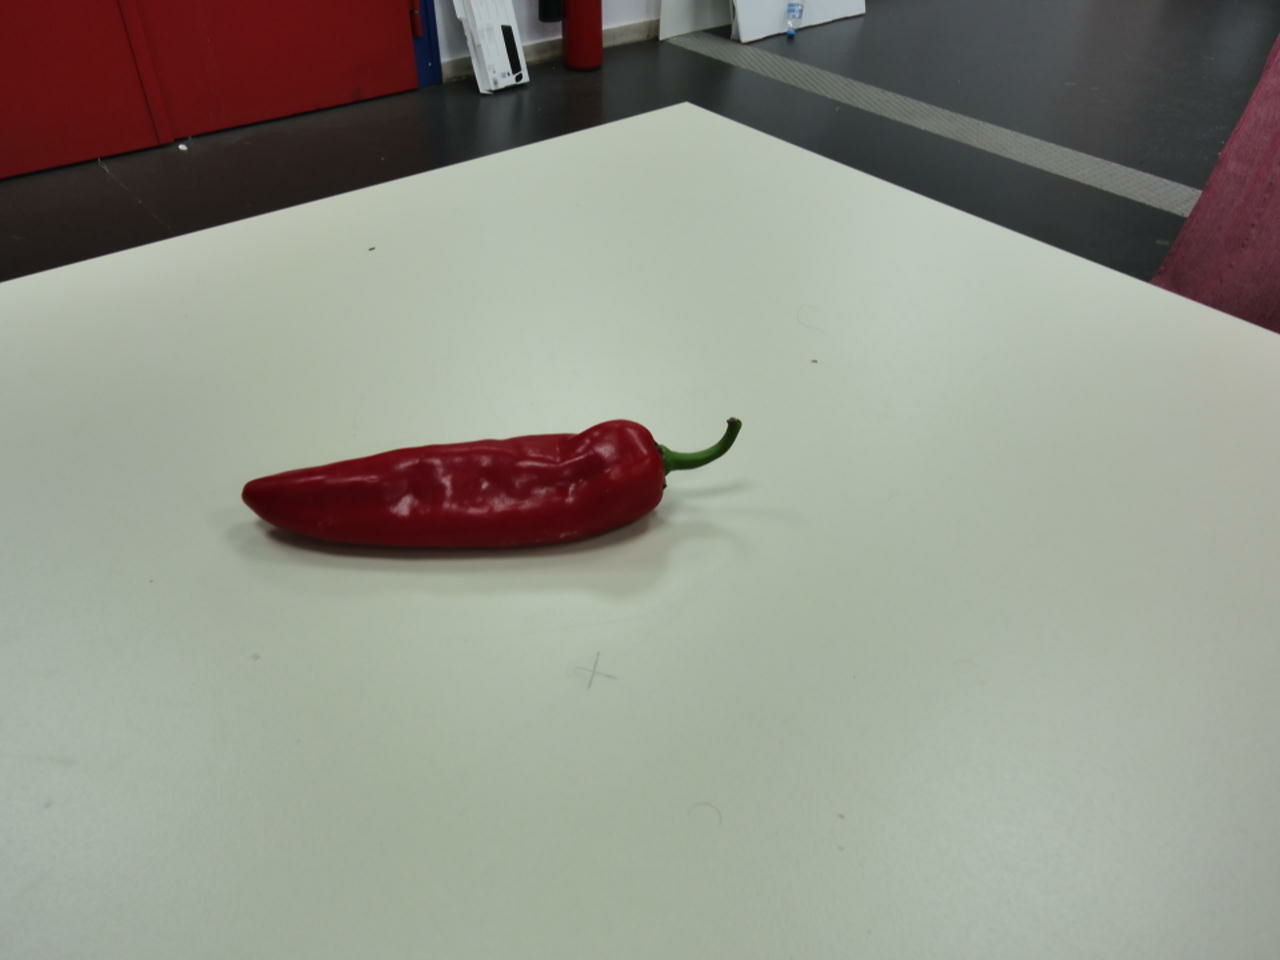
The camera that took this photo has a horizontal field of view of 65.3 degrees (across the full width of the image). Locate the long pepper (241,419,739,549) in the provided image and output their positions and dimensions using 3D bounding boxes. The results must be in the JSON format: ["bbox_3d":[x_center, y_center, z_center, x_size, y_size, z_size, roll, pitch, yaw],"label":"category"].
[{"bbox_3d":[-0.063,0.002,0.429,0.211,0.043,0.050,-5,37,-7],"label":"long pepper"}]
